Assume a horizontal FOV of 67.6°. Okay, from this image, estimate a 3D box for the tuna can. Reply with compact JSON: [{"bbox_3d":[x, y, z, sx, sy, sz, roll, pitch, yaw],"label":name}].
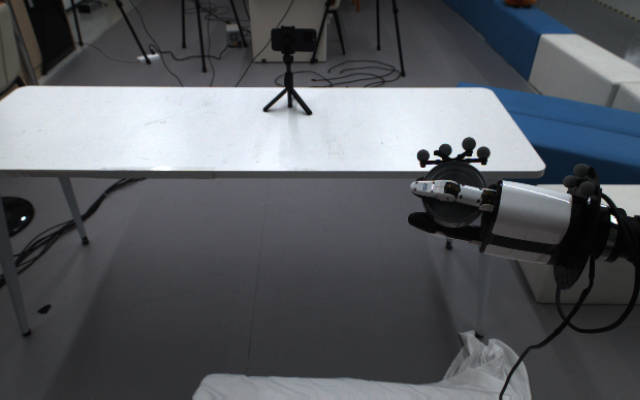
[{"bbox_3d":[0.179,-0.009,0.650,0.085,0.034,0.085,-5,70,15],"label":"tuna can"}]
